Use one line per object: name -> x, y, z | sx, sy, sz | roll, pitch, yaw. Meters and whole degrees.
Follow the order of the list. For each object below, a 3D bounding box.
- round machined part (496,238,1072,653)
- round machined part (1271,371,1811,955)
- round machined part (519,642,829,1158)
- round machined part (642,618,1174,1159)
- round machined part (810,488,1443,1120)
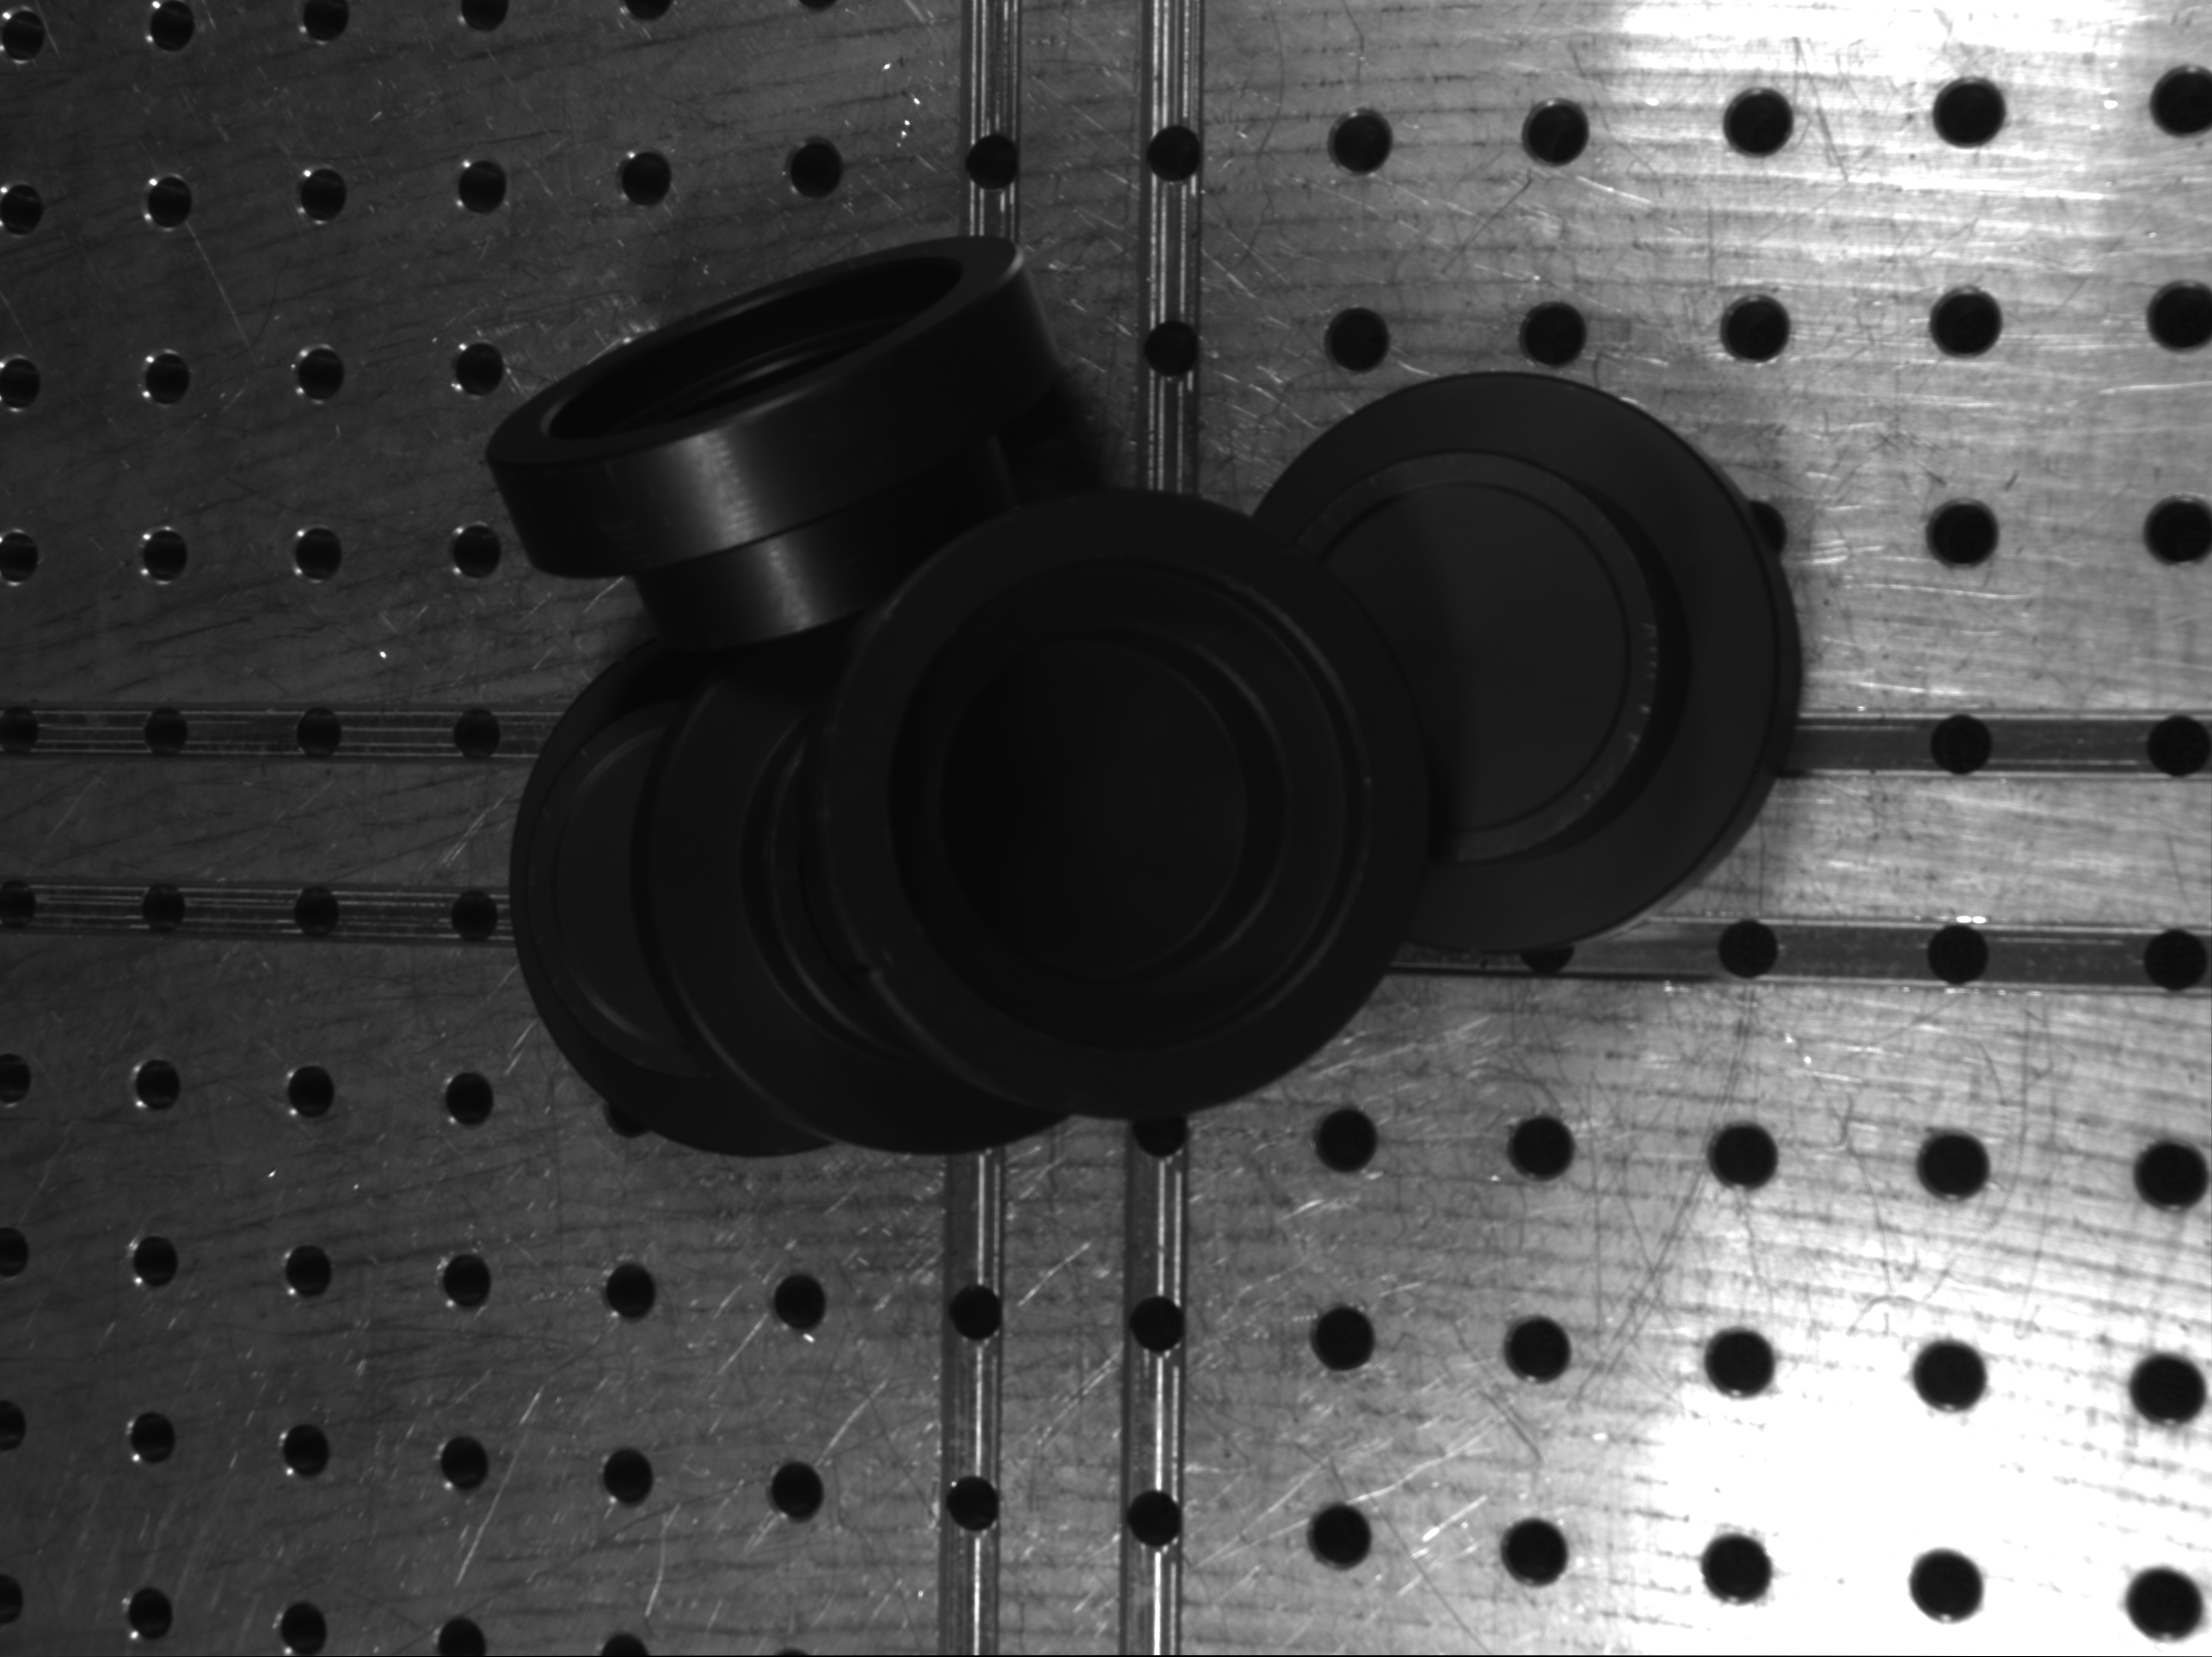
round machined part -> -0.052, -0.064, 0.632 | 0.098, 0.098, 0.042 | -13, 111, 19
round machined part -> 0.066, -0.028, 0.614 | 0.098, 0.042, 0.098 | 0, 90, 20
round machined part -> -0.063, 0.010, 0.660 | 0.098, 0.042, 0.098 | 0, 90, 20
round machined part -> -0.027, 0.007, 0.622 | 0.098, 0.042, 0.098 | 1, 86, -17
round machined part -> 0.001, -0.003, 0.586 | 0.098, 0.042, 0.098 | 0, 89, -13
